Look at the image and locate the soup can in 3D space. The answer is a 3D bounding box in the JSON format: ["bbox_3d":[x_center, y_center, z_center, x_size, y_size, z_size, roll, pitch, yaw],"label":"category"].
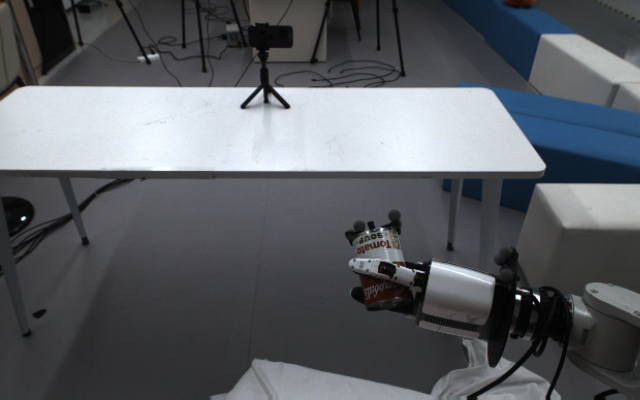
[{"bbox_3d":[0.090,0.096,0.679,0.067,0.067,0.101,-8,68,-14],"label":"soup can"}]
